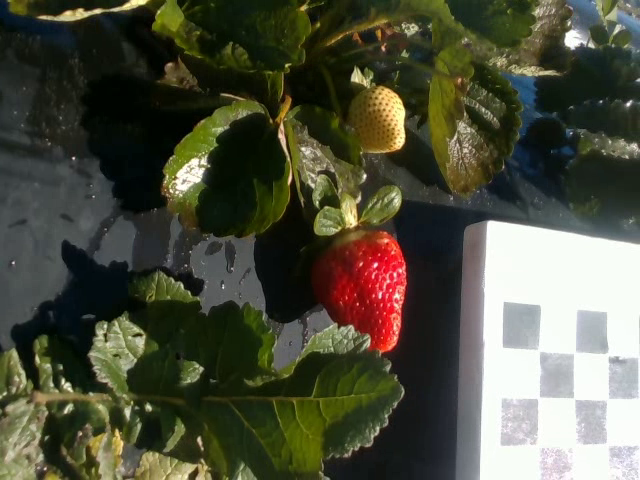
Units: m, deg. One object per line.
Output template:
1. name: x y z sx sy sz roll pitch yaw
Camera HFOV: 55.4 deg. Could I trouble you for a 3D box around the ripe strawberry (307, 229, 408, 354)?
1. ripe strawberry: 0.023 0.026 0.283 0.048 0.068 0.040 -12 -9 -23
